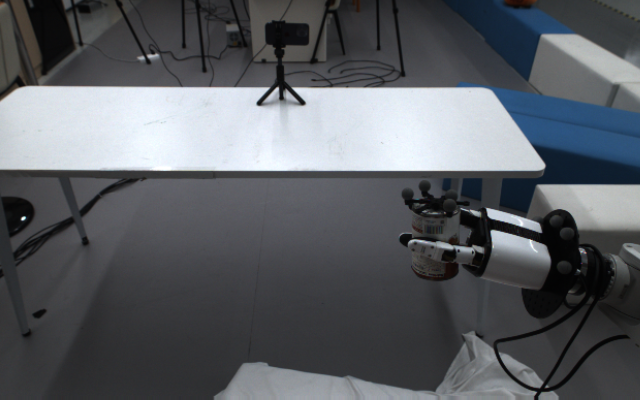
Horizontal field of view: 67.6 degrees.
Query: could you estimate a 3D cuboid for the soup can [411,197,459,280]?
[{"bbox_3d":[0.167,0.054,0.692,0.067,0.101,0.067,-4,21,1],"label":"soup can"}]
